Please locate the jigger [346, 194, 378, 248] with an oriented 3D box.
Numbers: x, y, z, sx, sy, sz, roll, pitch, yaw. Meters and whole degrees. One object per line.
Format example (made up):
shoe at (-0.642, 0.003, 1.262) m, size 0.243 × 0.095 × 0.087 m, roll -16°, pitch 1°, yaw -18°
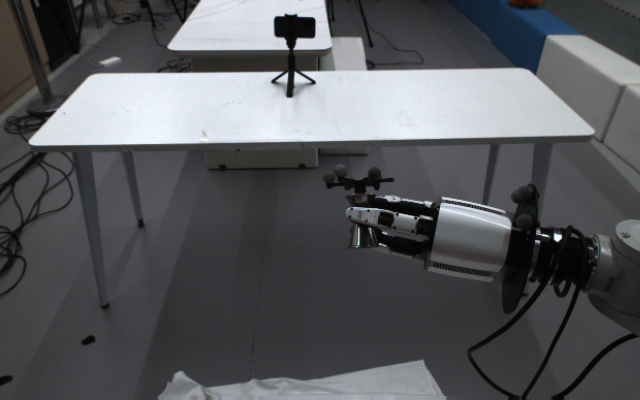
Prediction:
jigger at (0.054, 0.027, 0.623) m, size 0.043 × 0.071 × 0.043 m, roll -2°, pitch -7°, yaw 0°
